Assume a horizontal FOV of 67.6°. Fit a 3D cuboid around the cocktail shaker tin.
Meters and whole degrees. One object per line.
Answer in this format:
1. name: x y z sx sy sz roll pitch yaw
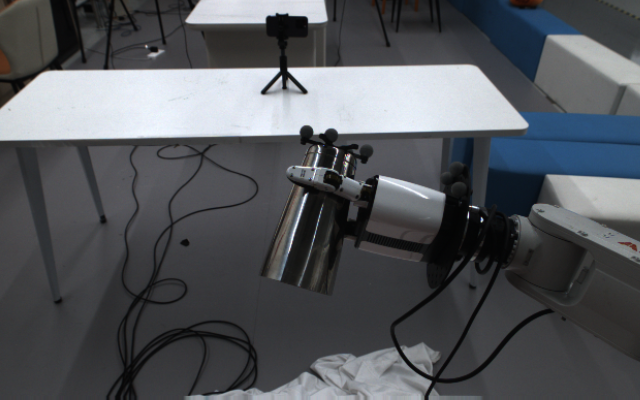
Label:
1. cocktail shaker tin: -0.004 0.021 0.598 0.093 0.093 0.170 13 79 15
